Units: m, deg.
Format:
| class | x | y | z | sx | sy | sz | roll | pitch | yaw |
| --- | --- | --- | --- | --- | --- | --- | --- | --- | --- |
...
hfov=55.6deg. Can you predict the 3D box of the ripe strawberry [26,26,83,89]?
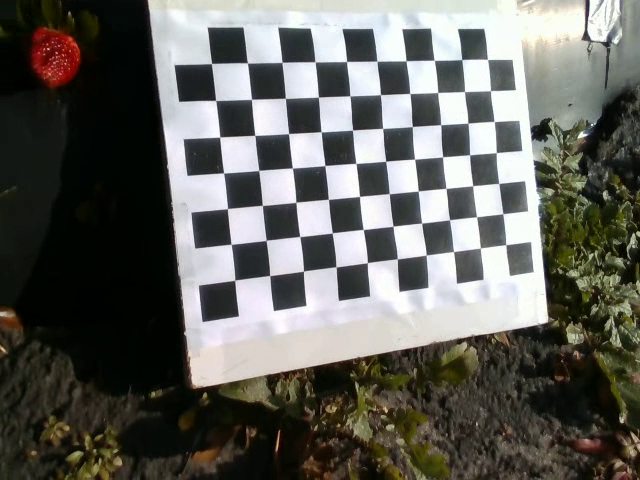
| class | x | y | z | sx | sy | sz | roll | pitch | yaw |
| --- | --- | --- | --- | --- | --- | --- | --- | --- | --- |
| ripe strawberry | -0.059 | -0.040 | 0.130 | 0.015 | 0.015 | 0.023 | 2 | 37 | -21 |
